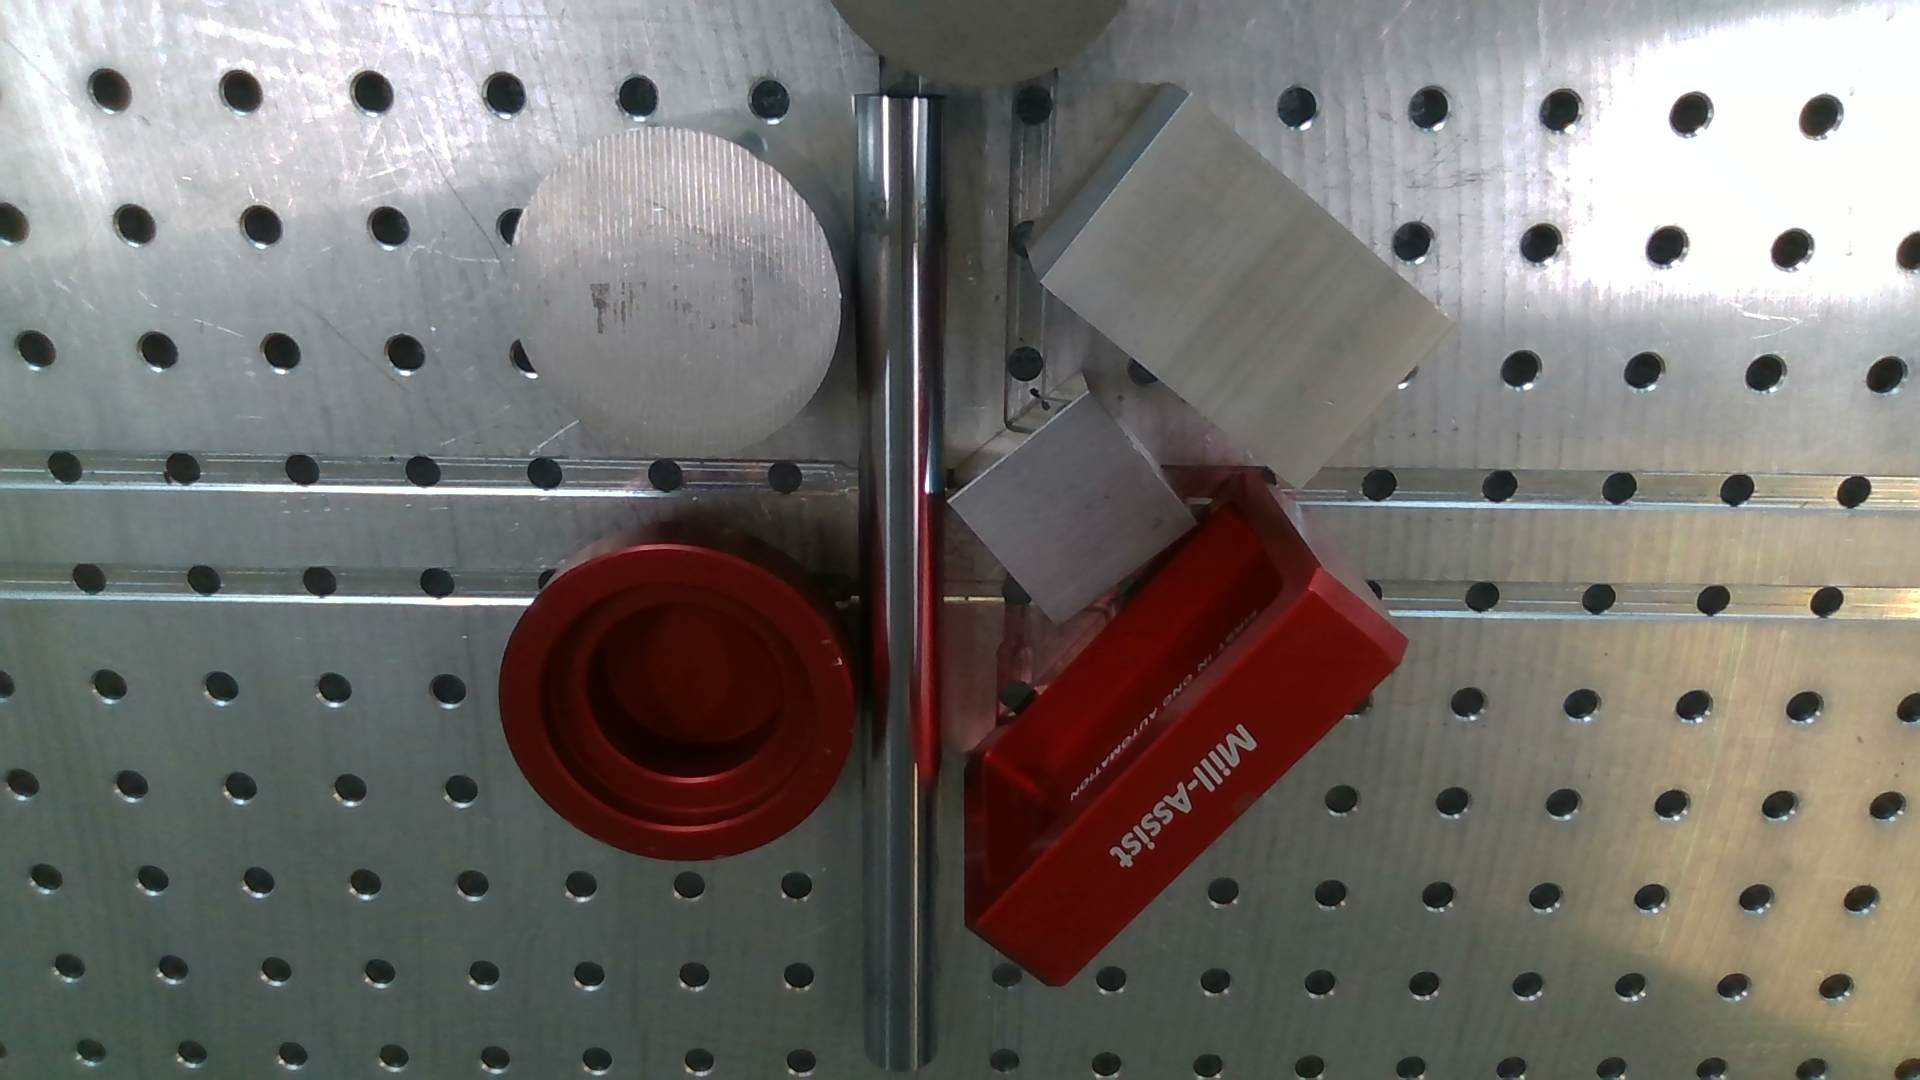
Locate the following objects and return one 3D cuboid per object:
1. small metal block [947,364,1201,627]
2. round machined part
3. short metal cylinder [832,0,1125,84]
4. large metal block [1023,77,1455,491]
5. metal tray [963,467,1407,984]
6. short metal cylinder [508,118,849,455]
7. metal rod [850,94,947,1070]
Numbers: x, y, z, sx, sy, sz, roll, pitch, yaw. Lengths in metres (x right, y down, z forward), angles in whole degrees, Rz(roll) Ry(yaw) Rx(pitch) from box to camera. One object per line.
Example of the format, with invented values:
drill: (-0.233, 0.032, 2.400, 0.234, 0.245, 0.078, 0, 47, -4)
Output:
small metal block: (0.032, -0.013, 0.392, 0.050, 0.025, 0.050, -37, 106, 13)
round machined part: (-0.079, 0.040, 0.402, 0.098, 0.042, 0.098, 0, 110, 0)
short metal cylinder: (0.004, -0.151, 0.327, 0.080, 0.050, 0.080, 0, 110, 0)
large metal block: (0.064, -0.067, 0.342, 0.080, 0.080, 0.050, 37, 106, -12)
metal tray: (0.054, 0.048, 0.379, 0.030, 0.090, 0.130, 38, 106, -13)
short metal cylinder: (-0.069, -0.068, 0.357, 0.080, 0.050, 0.080, 0, 110, 0)
metal rod: (-0.018, 0.027, 0.406, 0.025, 0.025, 0.301, 1, 110, 0)
